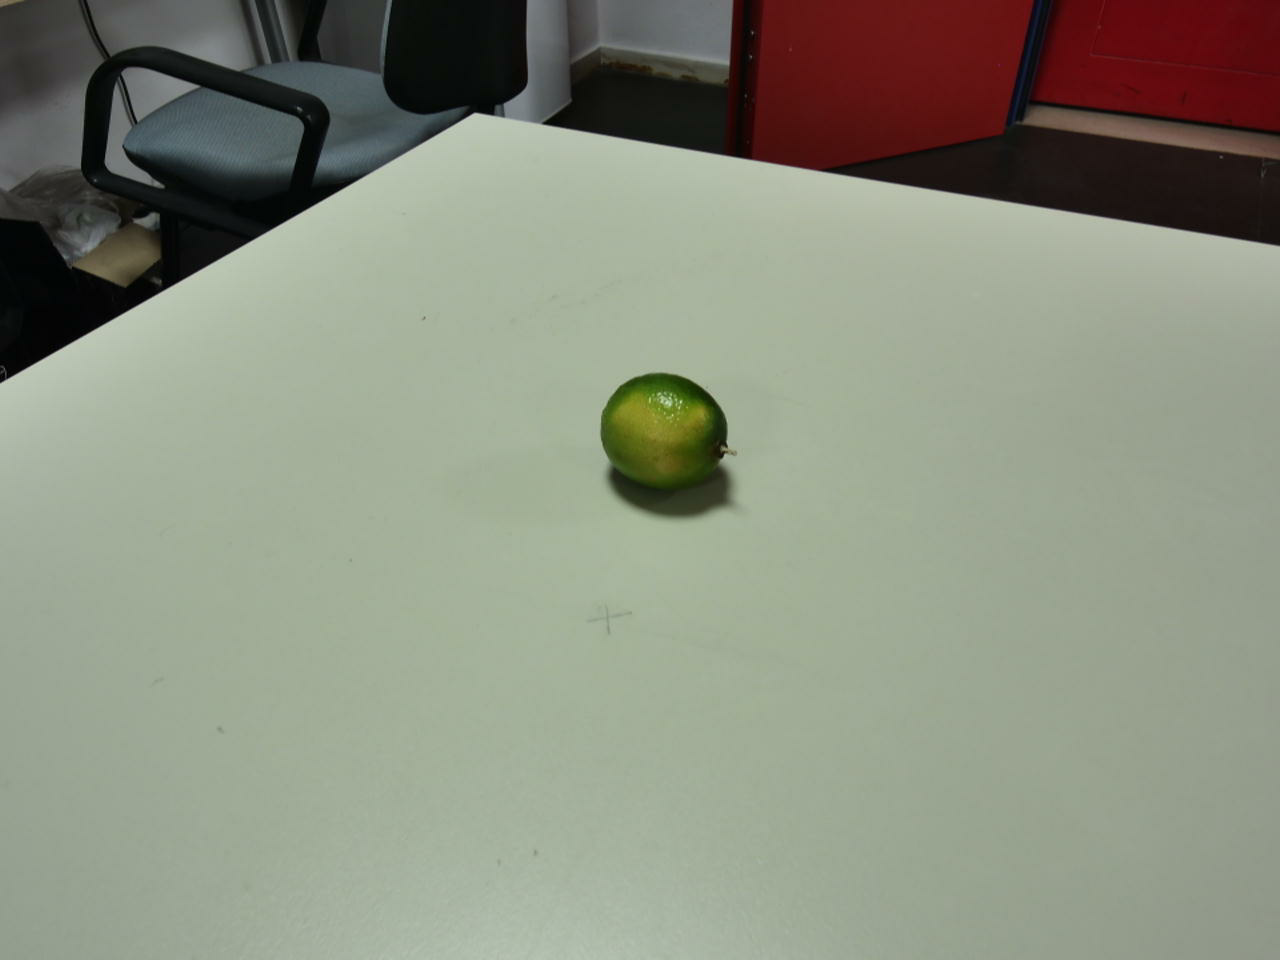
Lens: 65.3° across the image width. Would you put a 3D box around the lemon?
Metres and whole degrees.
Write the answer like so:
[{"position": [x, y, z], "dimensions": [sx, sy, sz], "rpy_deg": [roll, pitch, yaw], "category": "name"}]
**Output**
[{"position": [0.010, -0.022, 0.441], "dimensions": [0.054, 0.050, 0.055], "rpy_deg": [-8, 38, -10], "category": "lemon"}]
